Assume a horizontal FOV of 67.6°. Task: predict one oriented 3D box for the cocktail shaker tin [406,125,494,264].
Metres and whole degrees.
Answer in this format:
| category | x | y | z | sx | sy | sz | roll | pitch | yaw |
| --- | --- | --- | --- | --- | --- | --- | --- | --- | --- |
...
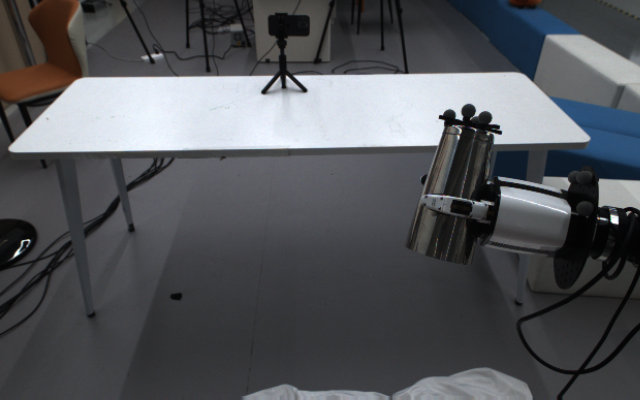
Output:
| category | x | y | z | sx | sy | sz | roll | pitch | yaw |
| --- | --- | --- | --- | --- | --- | --- | --- | --- | --- |
| cocktail shaker tin | 0.180 | -0.010 | 0.648 | 0.093 | 0.170 | 0.093 | 13 | 4 | -1 |
